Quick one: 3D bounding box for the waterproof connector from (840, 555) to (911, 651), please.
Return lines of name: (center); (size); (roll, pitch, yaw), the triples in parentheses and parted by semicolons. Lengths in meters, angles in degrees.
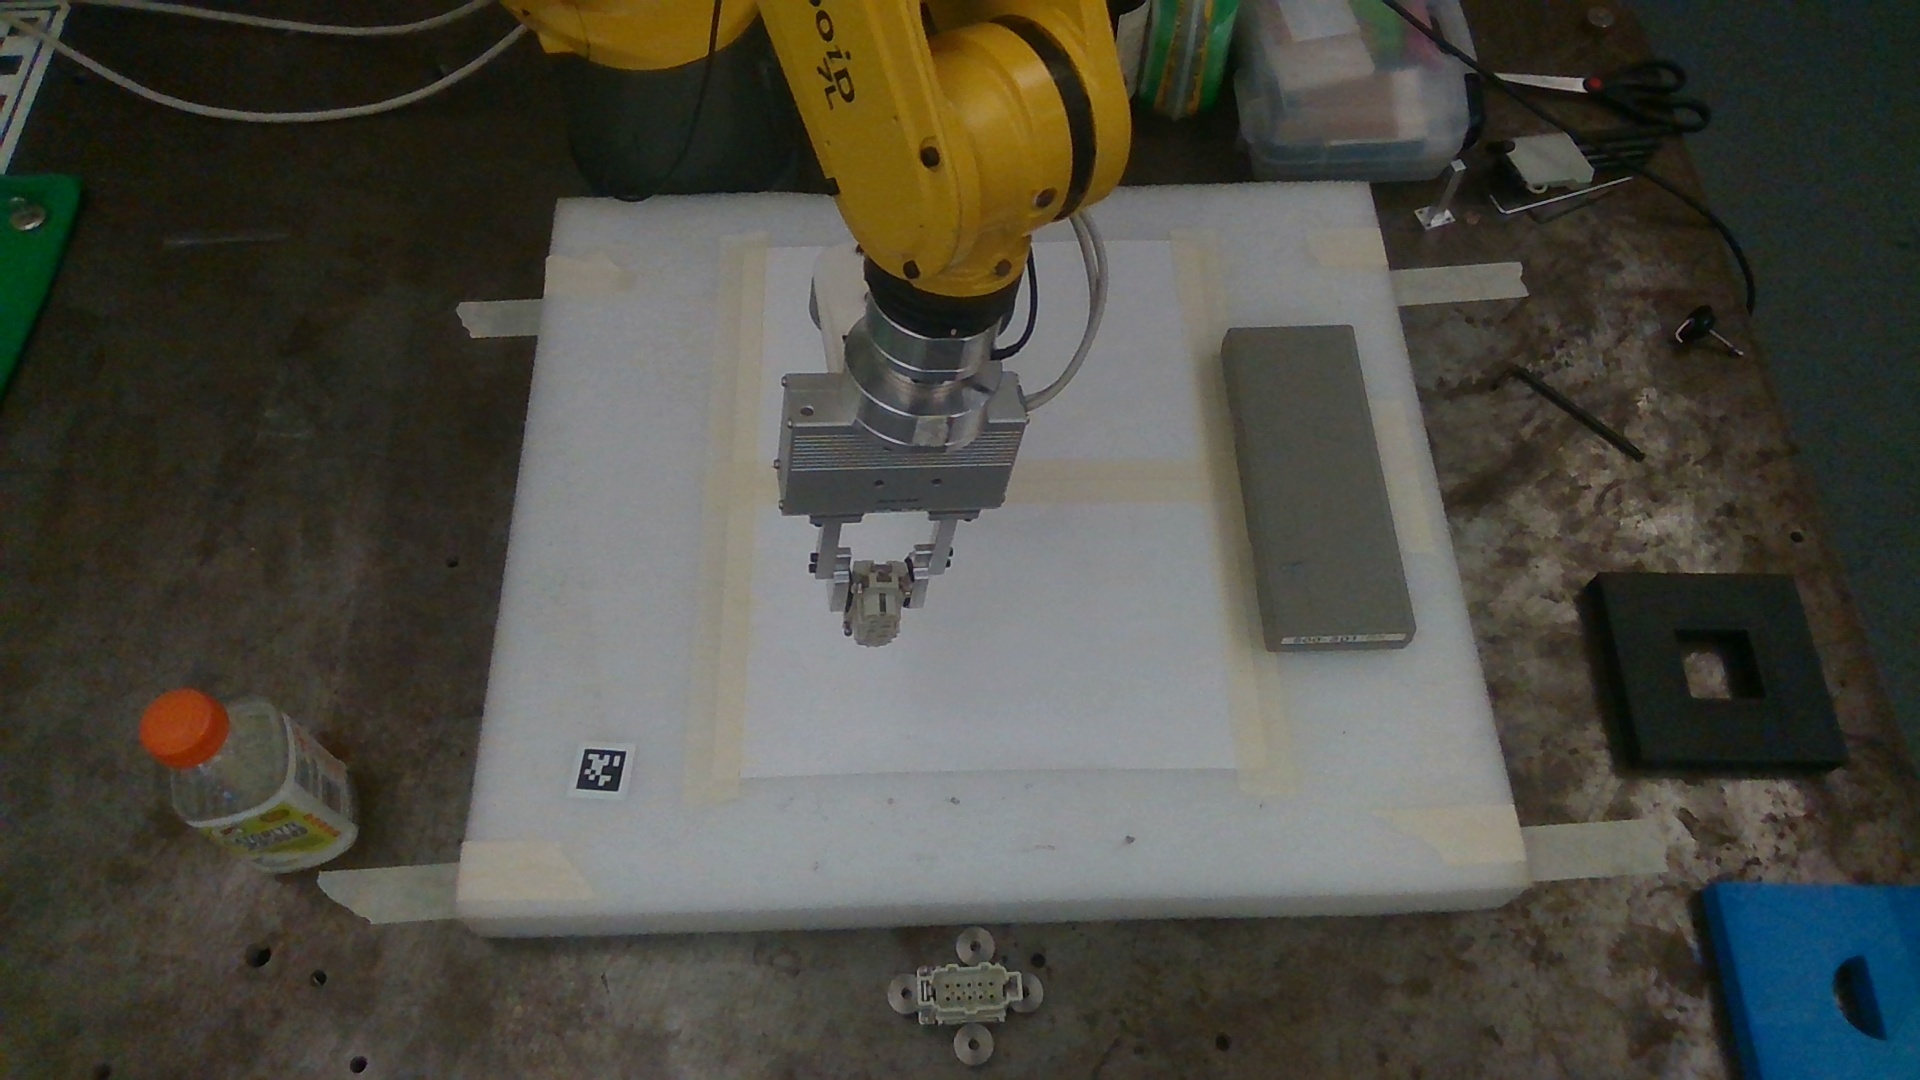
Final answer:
waterproof connector: (-0.051, 0.038, 0.832); (0.036, 0.069, 0.038); (3, 53, -10)
